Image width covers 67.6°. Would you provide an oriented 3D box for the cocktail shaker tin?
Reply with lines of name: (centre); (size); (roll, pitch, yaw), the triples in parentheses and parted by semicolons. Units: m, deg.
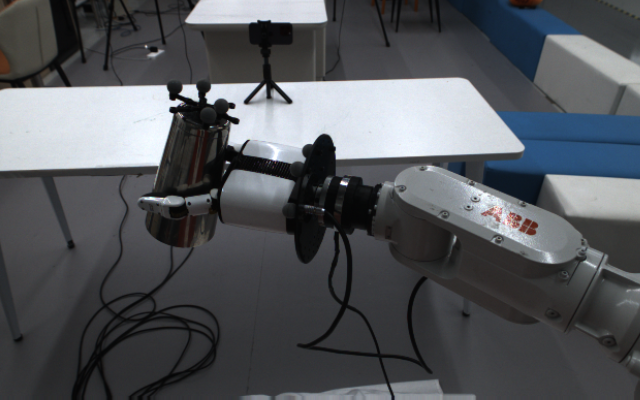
cocktail shaker tin: (-0.162, -0.034, 0.612); (0.093, 0.170, 0.093); (16, 31, -10)
